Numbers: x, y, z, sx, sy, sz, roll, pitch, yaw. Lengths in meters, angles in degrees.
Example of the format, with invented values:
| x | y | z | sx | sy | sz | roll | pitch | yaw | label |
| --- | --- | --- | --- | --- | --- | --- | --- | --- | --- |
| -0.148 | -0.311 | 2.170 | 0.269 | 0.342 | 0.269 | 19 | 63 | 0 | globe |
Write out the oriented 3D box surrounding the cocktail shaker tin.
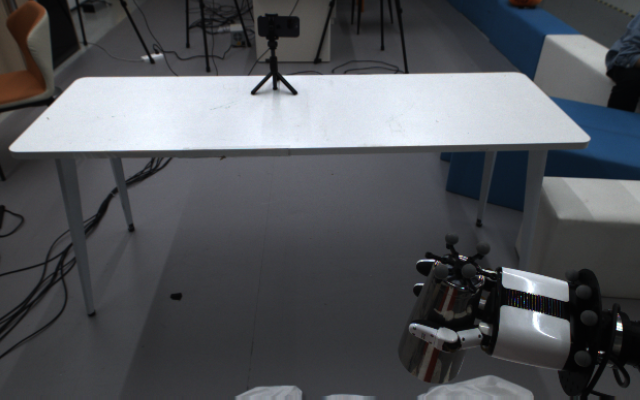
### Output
| x | y | z | sx | sy | sz | roll | pitch | yaw | label |
| --- | --- | --- | --- | --- | --- | --- | --- | --- | --- |
| 0.167 | 0.155 | 0.653 | 0.093 | 0.170 | 0.093 | 4 | 36 | -3 | cocktail shaker tin |
